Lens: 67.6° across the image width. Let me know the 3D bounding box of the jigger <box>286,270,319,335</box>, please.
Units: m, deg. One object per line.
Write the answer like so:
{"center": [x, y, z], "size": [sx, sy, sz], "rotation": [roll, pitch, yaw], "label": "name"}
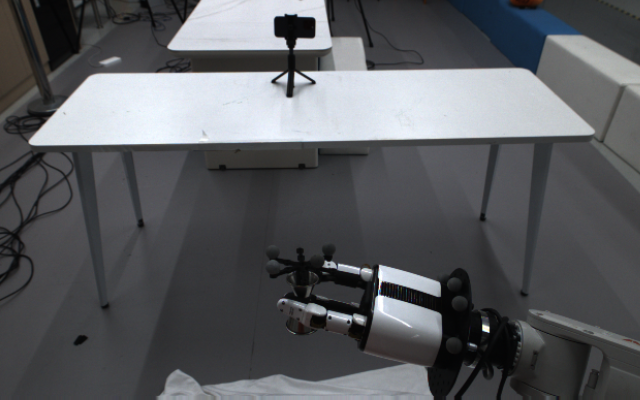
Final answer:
{"center": [-0.022, 0.126, 0.602], "size": [0.043, 0.071, 0.043], "rotation": [0, 21, 0], "label": "jigger"}
